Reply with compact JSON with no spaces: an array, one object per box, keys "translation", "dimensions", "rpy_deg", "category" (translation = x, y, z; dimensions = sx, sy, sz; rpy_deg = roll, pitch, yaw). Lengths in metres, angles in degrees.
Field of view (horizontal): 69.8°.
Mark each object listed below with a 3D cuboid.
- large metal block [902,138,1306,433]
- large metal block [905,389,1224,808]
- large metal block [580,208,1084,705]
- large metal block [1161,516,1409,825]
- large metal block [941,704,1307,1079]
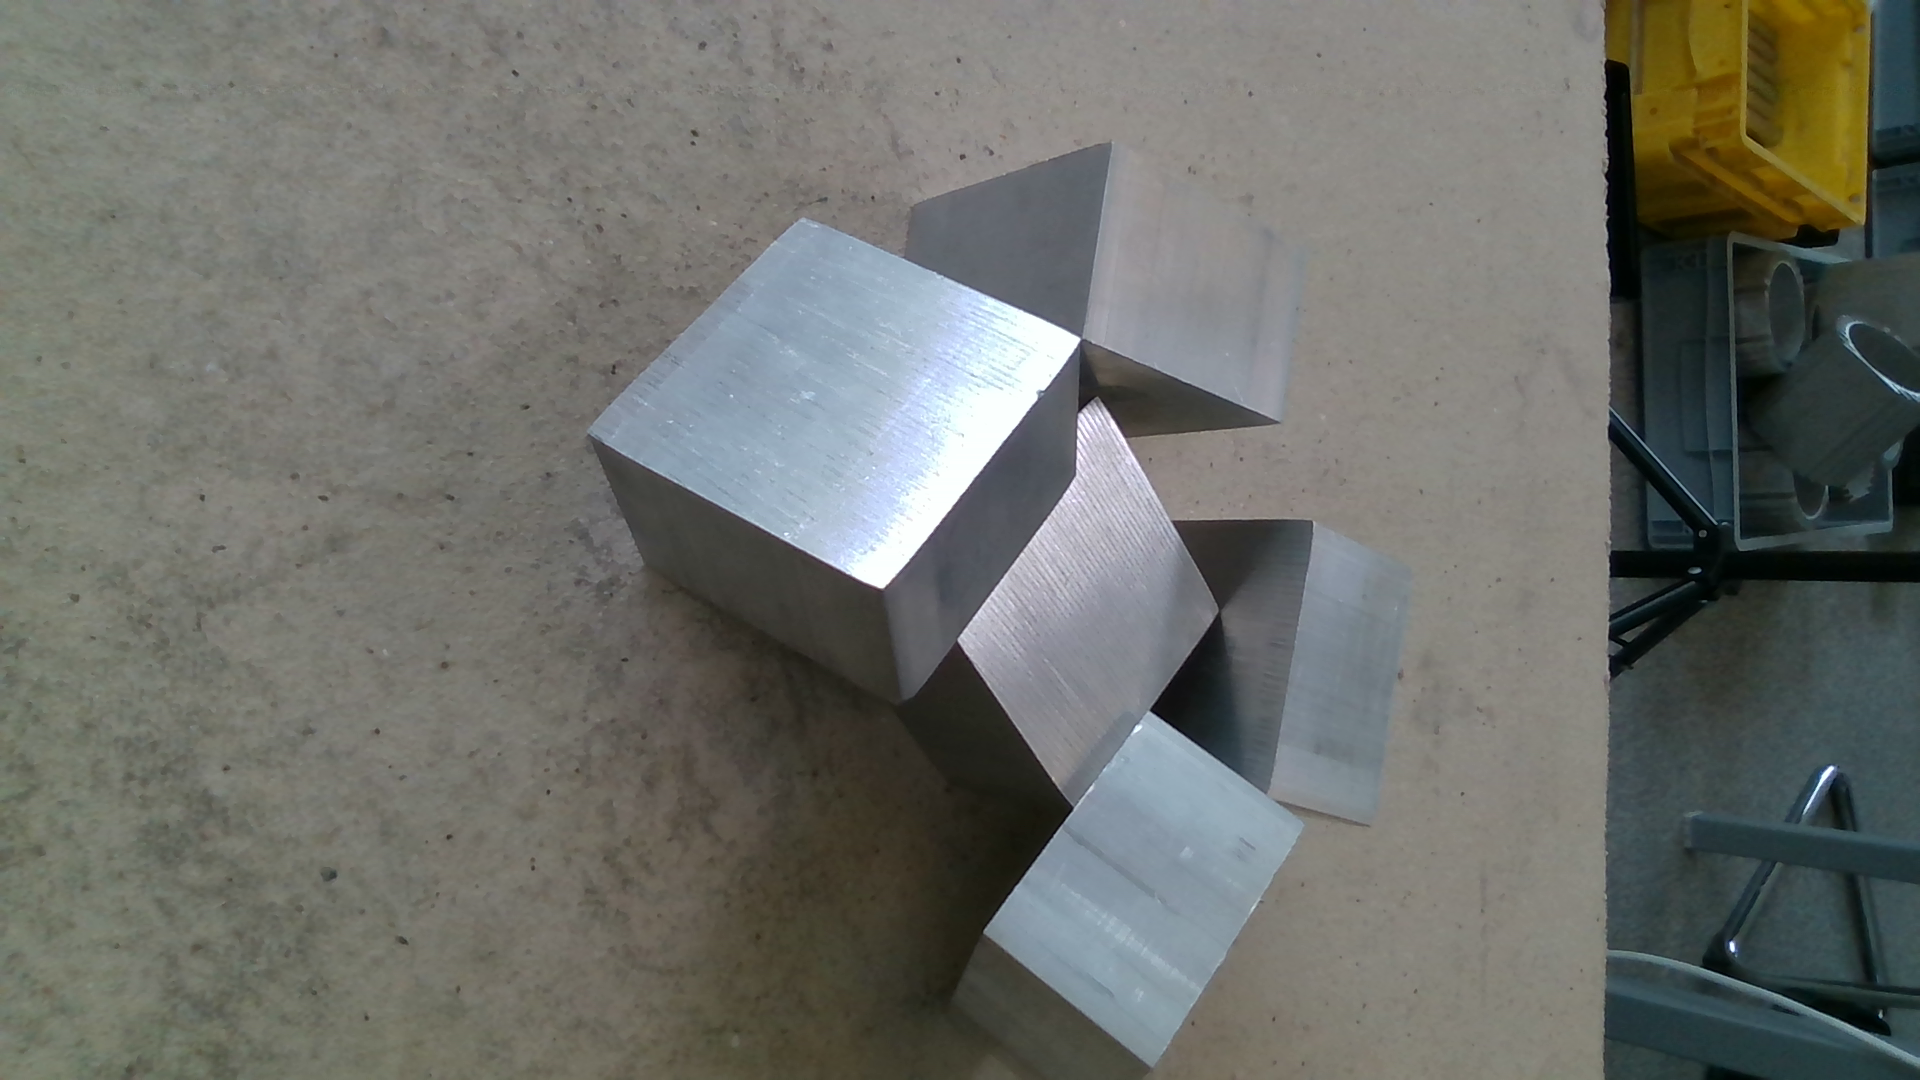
[{"translation":[0.037,-0.065,0.388],"dimensions":[0.080,0.080,0.050],"rpy_deg":[15,81,-38],"category":"large metal block"},{"translation":[0.018,0.016,0.388],"dimensions":[0.080,0.050,0.080],"rpy_deg":[-48,118,-28],"category":"large metal block"},{"translation":[-0.026,-0.022,0.325],"dimensions":[0.080,0.080,0.050],"rpy_deg":[-52,158,-27],"category":"large metal block"},{"translation":[0.084,0.039,0.427],"dimensions":[0.050,0.080,0.080],"rpy_deg":[20,77,-39],"category":"large metal block"},{"translation":[0.043,0.106,0.384],"dimensions":[0.050,0.080,0.080],"rpy_deg":[35,59,13],"category":"large metal block"}]
